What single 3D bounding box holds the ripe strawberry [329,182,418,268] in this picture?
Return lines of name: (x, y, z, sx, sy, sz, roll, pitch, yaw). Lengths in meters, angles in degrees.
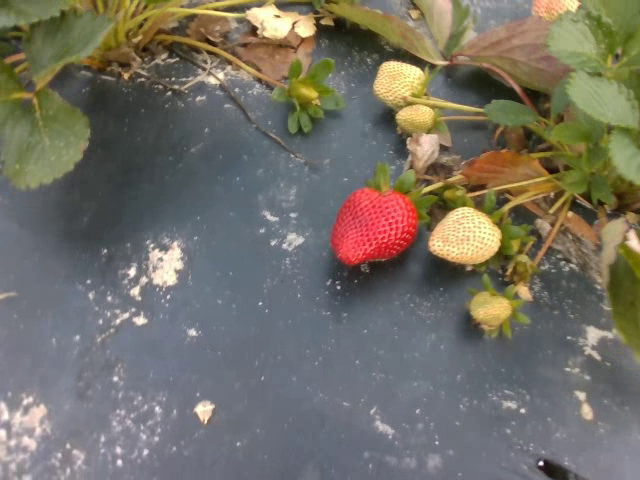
ripe strawberry: (0.025, -0.007, 0.331, 0.050, 0.034, 0.059, 24, 41, 12)
